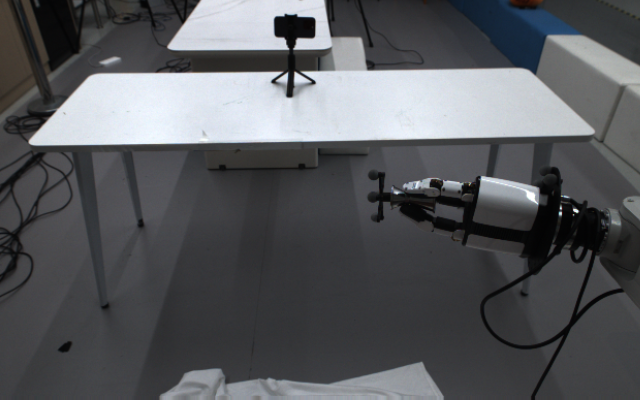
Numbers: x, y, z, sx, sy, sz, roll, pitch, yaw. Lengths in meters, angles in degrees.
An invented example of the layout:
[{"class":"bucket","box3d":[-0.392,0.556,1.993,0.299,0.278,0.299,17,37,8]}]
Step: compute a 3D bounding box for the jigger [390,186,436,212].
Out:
[{"class":"jigger","box3d":[0.154,-0.007,0.763,0.071,0.043,0.043,2,34,14]}]
